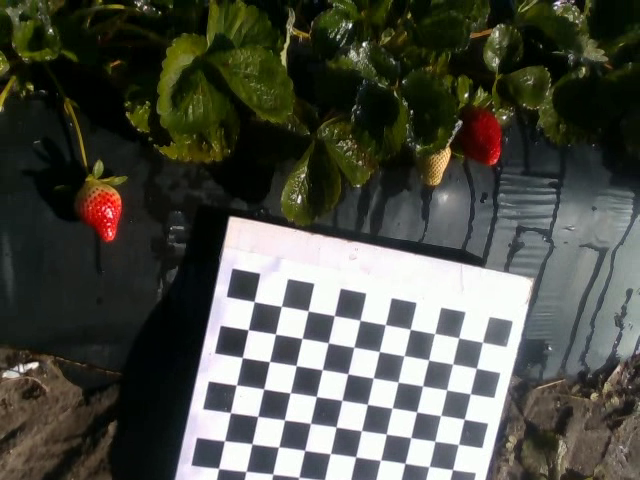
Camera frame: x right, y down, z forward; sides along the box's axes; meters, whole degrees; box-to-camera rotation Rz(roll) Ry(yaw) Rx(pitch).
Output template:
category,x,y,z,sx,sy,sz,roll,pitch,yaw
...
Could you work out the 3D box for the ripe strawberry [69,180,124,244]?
category,x,y,z,sx,sy,sz,roll,pitch,yaw
ripe strawberry,-0.166,-0.021,0.504,0.039,0.053,0.041,-11,-9,-12
